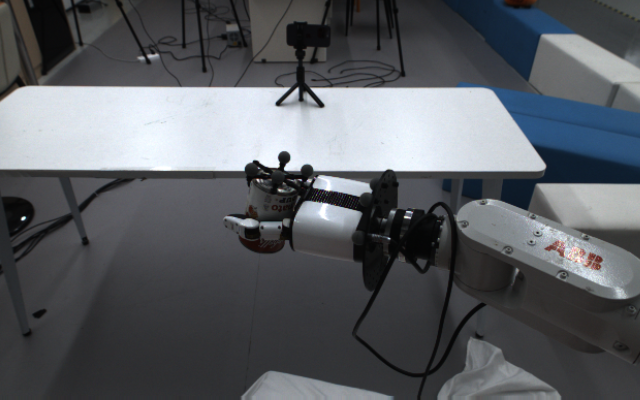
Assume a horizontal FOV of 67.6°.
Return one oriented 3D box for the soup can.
[{"bbox_3d":[-0.070,0.015,0.669,0.067,0.101,0.067,13,31,-8],"label":"soup can"}]
